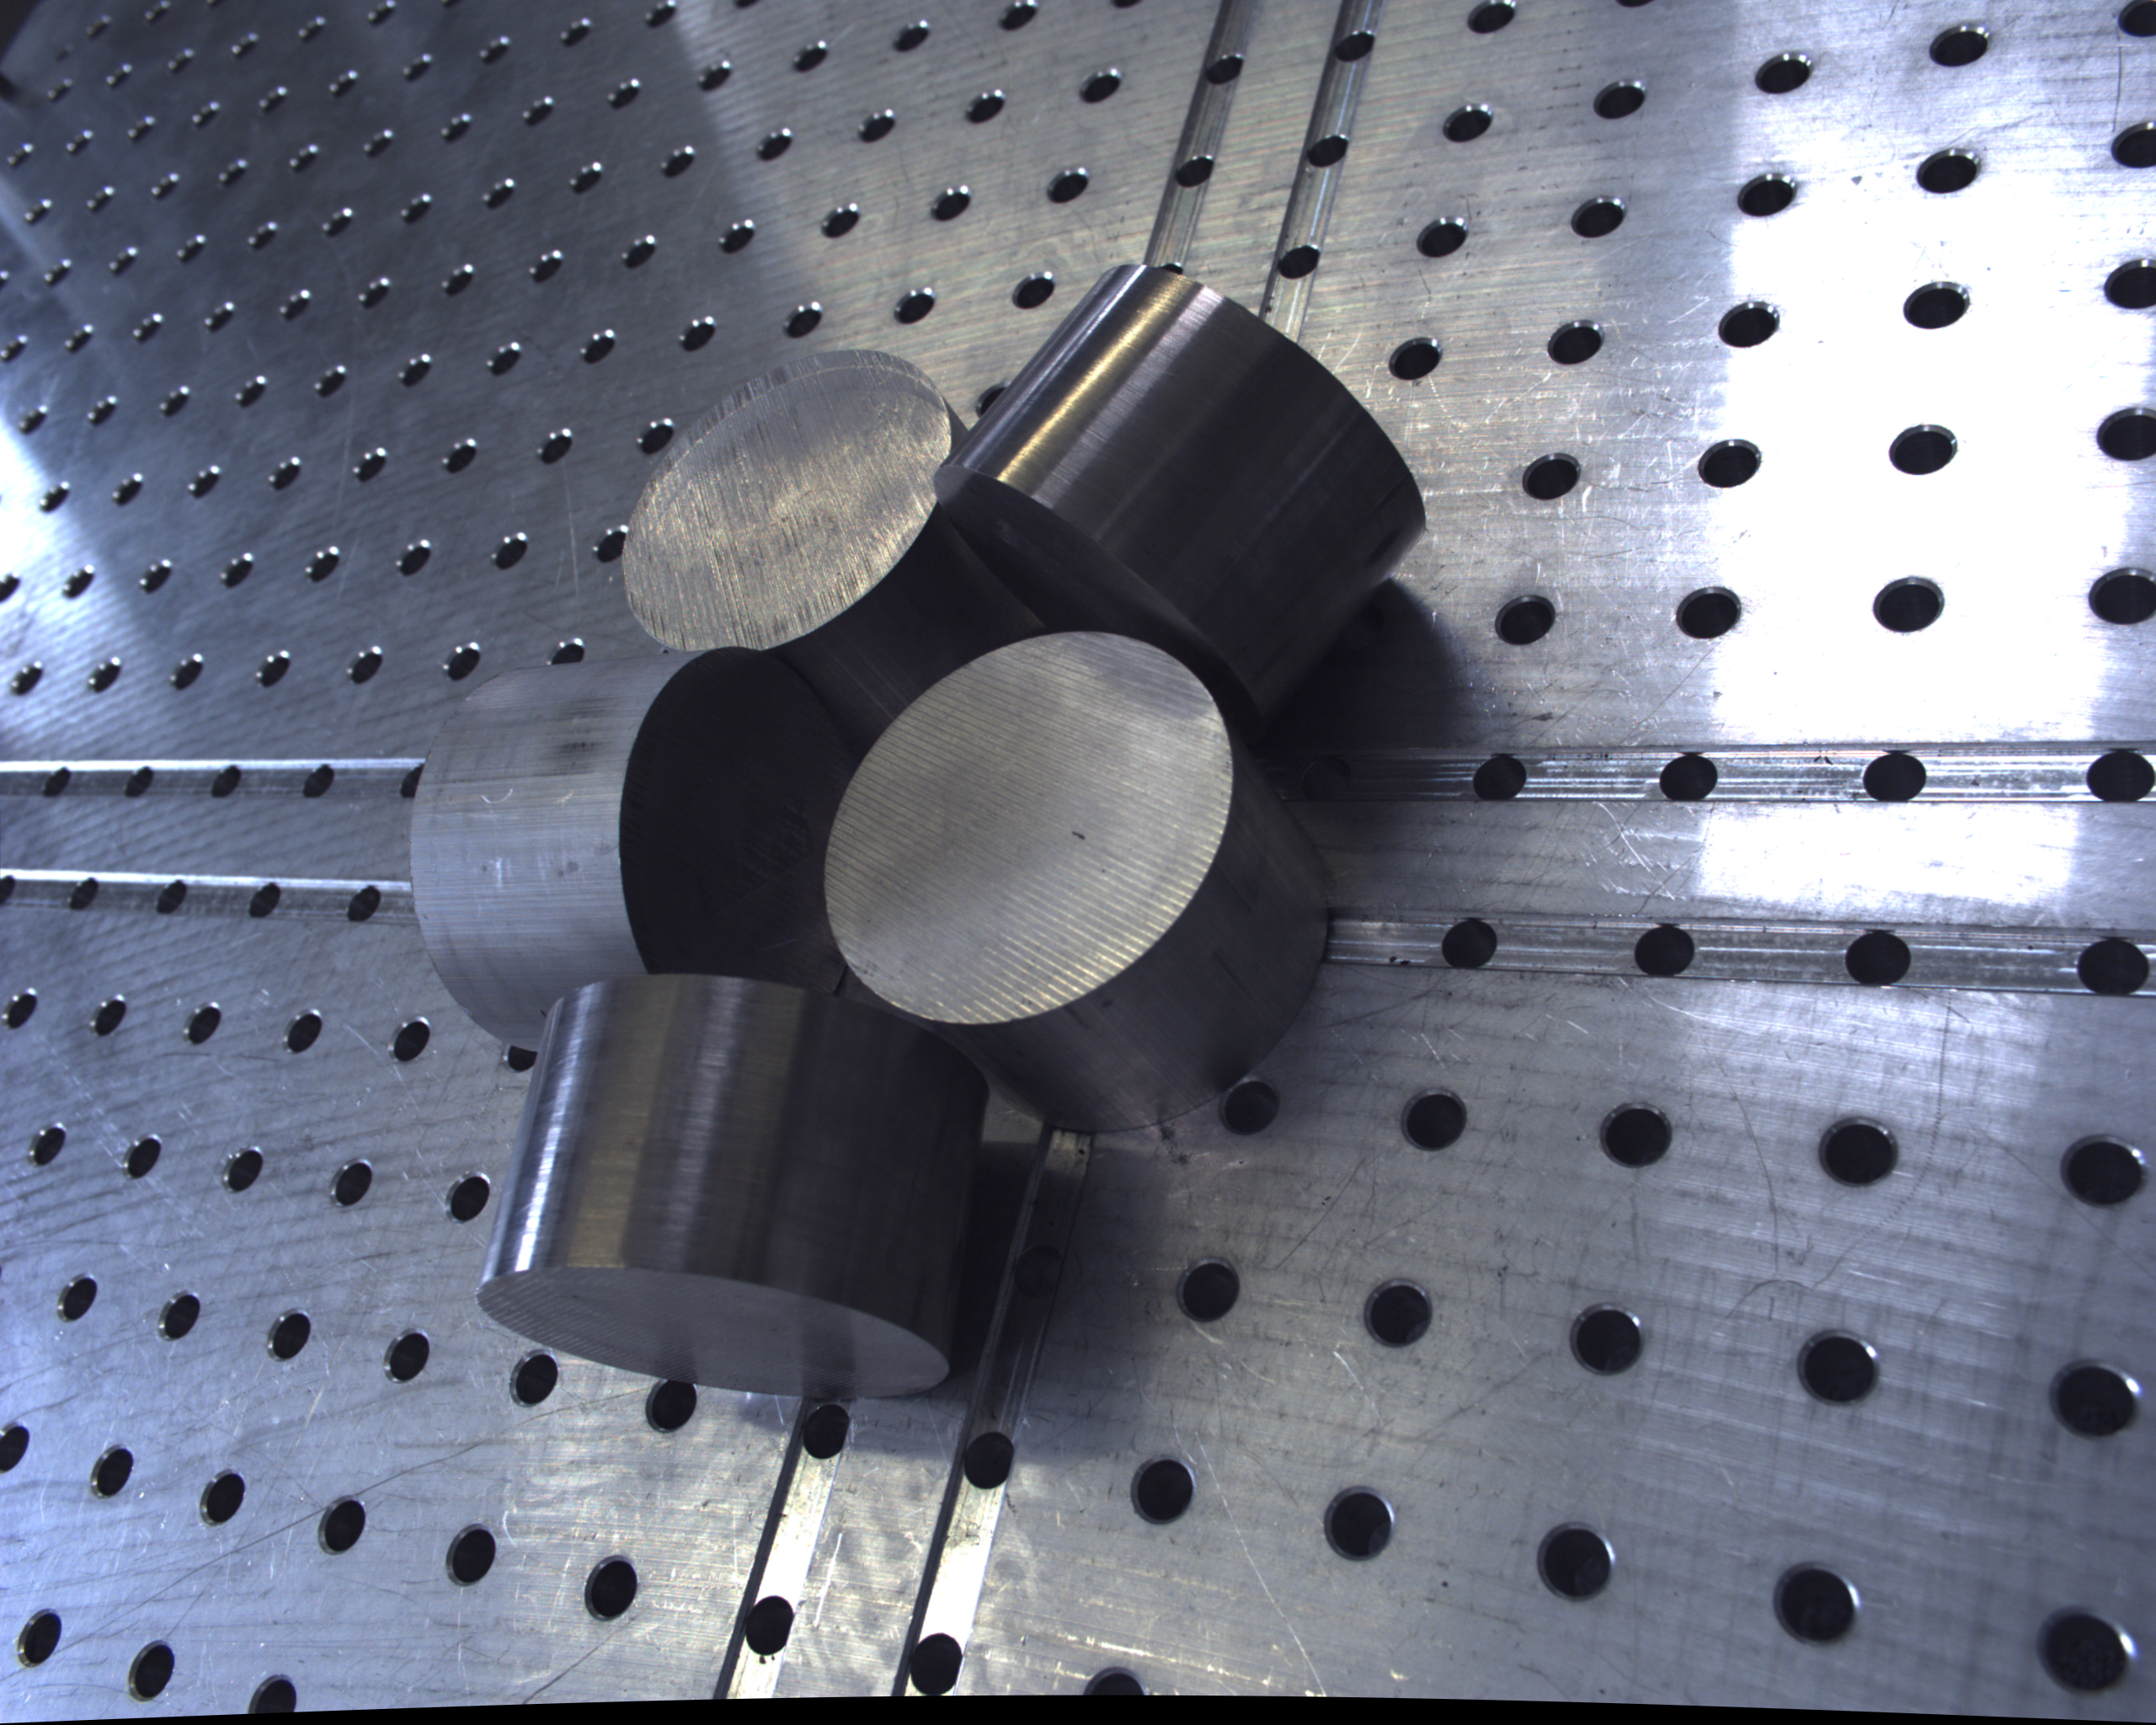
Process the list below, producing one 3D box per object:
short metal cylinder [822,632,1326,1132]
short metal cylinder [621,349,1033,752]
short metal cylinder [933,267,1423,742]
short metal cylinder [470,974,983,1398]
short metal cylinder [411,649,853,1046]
[{"bbox_3d":[0.000,0.004,0.390,0.080,0.050,0.080,-13,57,21],"label":"short metal cylinder"},{"bbox_3d":[-0.052,-0.065,0.459,0.080,0.050,0.080,-14,56,22],"label":"short metal cylinder"},{"bbox_3d":[0.019,-0.068,0.405,0.080,0.080,0.050,32,79,38],"label":"short metal cylinder"},{"bbox_3d":[-0.060,0.059,0.367,0.080,0.080,0.050,-6,60,25],"label":"short metal cylinder"},{"bbox_3d":[-0.086,-0.001,0.420,0.050,0.080,0.080,-2,61,27],"label":"short metal cylinder"}]
